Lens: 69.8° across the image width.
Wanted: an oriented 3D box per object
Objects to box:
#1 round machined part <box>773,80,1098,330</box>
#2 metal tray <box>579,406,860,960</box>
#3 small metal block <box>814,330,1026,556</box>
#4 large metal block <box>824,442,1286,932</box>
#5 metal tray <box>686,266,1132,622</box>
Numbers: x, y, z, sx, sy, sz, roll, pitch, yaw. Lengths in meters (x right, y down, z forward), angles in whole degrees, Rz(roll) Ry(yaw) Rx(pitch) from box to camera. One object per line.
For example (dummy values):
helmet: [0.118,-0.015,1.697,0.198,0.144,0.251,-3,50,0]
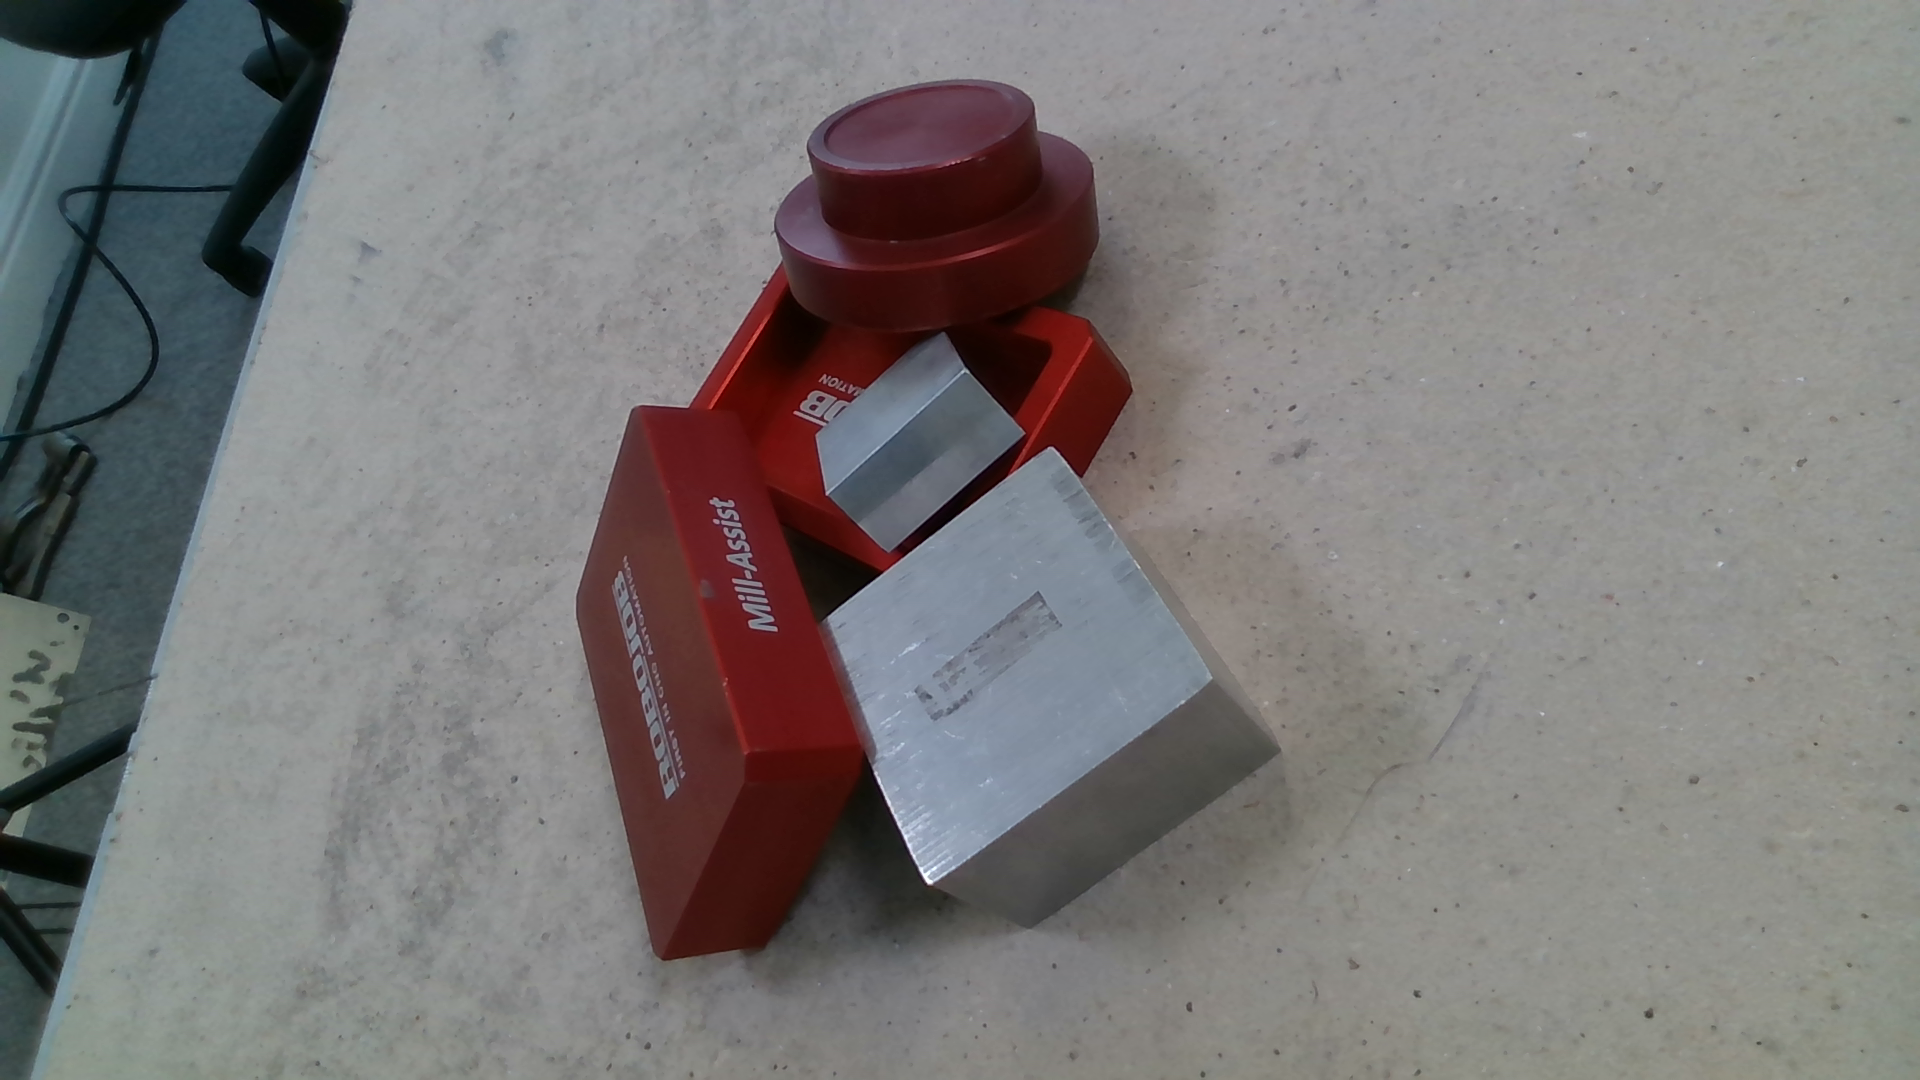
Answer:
round machined part: [-0.009,-0.106,0.417,0.098,0.042,0.098,-7,37,5]
metal tray: [-0.073,0.037,0.386,0.090,0.030,0.130,-62,40,38]
small metal block: [-0.013,-0.030,0.387,0.050,0.025,0.050,-41,23,9]
large metal block: [0.020,0.037,0.345,0.080,0.050,0.080,-38,52,9]
metal tray: [-0.024,-0.037,0.423,0.130,0.030,0.090,24,79,38]
